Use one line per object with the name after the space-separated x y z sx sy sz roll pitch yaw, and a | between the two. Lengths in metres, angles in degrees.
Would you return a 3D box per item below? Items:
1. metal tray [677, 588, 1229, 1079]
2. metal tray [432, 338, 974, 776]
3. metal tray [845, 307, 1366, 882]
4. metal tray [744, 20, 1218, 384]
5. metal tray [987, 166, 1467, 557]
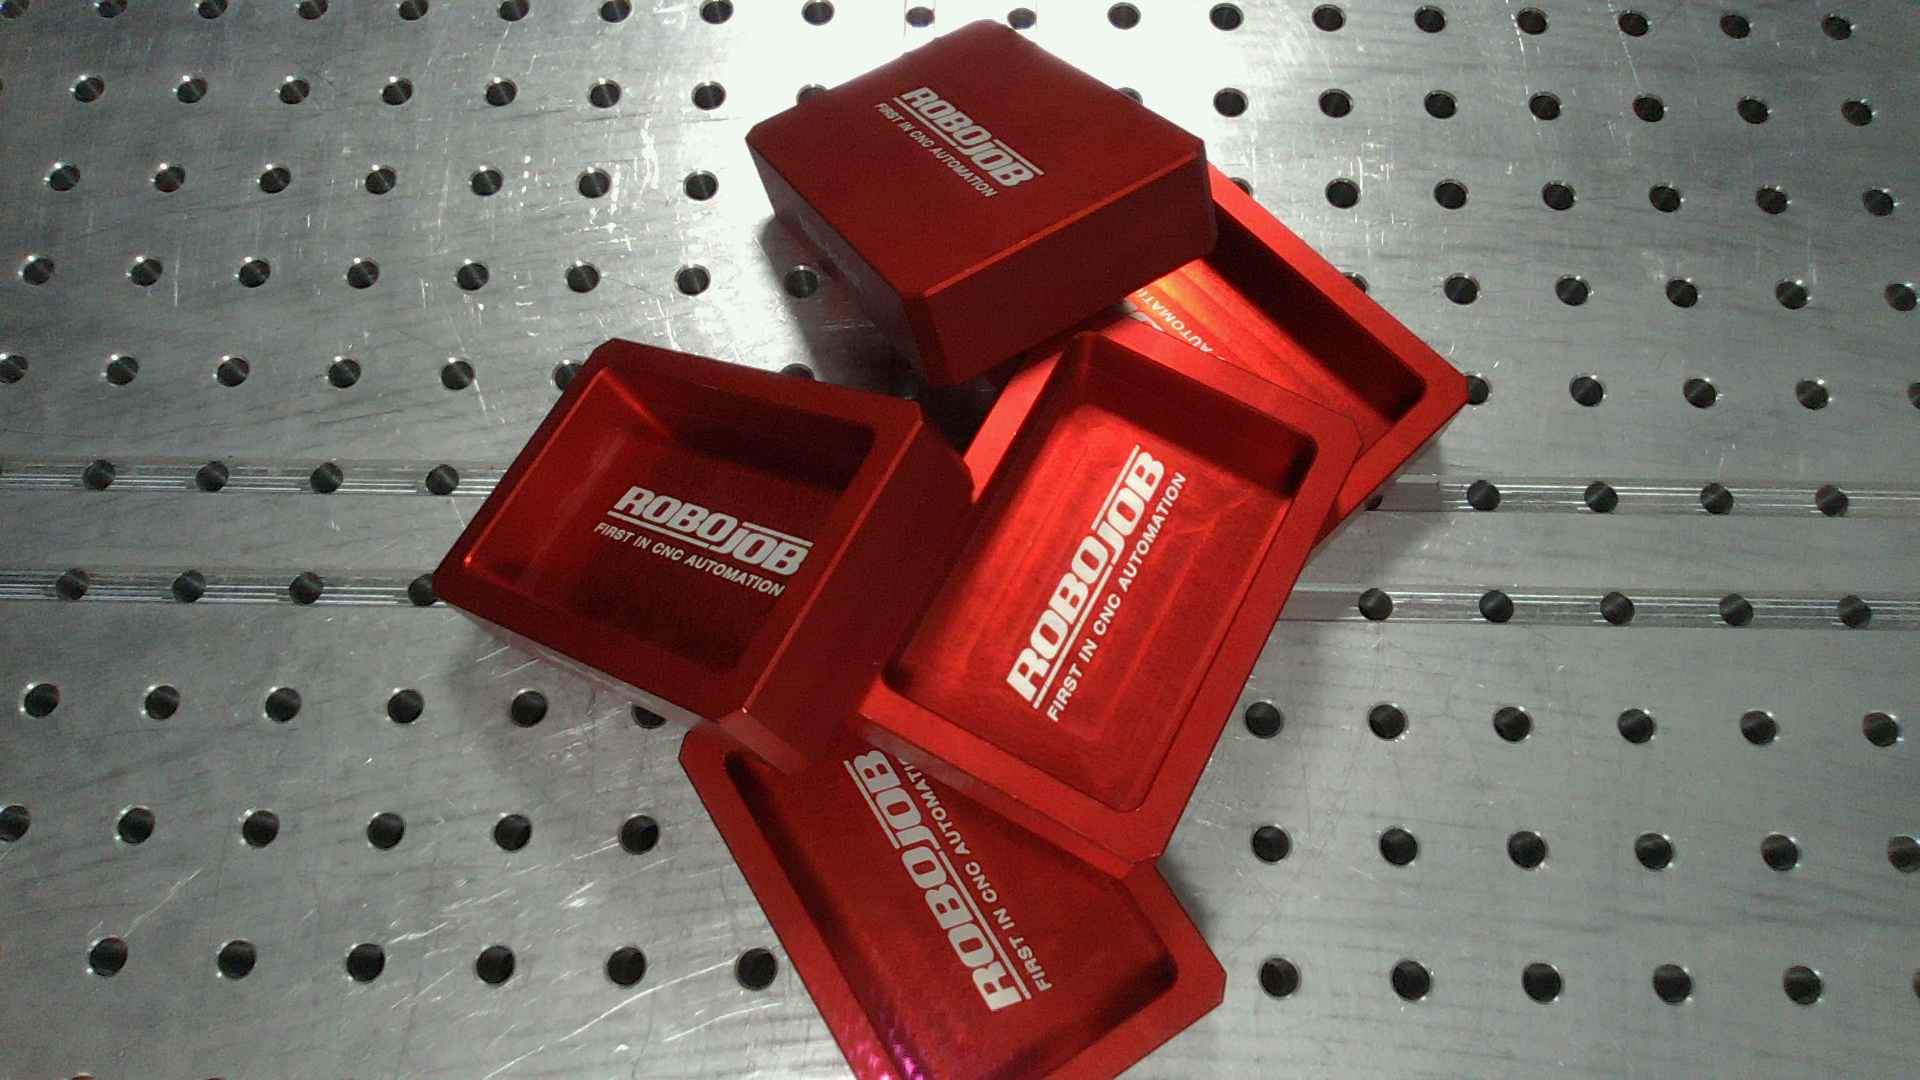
-0.003 0.087 0.362 0.090 0.030 0.130 -31 73 -11 | metal tray
-0.071 -0.002 0.362 0.129 0.030 0.090 16 67 38 | metal tray
0.037 0.010 0.359 0.090 0.030 0.130 27 72 9 | metal tray
0.002 -0.104 0.400 0.090 0.030 0.130 -29 43 -10 | metal tray
0.072 -0.054 0.414 0.090 0.030 0.130 -42 75 -14 | metal tray
